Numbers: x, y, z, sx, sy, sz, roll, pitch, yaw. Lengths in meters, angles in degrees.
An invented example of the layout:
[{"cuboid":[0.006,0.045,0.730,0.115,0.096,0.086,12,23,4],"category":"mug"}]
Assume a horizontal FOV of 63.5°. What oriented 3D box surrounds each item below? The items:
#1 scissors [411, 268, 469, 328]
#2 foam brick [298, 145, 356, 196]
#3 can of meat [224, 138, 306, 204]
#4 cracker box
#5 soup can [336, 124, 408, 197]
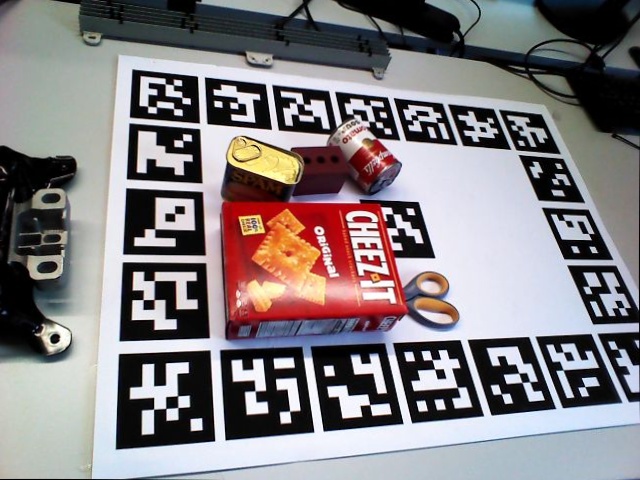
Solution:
[{"cuboid":[0.100,0.083,0.688,0.202,0.016,0.087,-3,62,-19],"category":"scissors"},{"cuboid":[0.005,-0.102,0.760,0.078,0.052,0.052,-9,64,-22],"category":"foam brick"},{"cuboid":[-0.077,-0.085,0.702,0.102,0.084,0.057,14,58,-10],"category":"can of meat"},{"cuboid":[-0.007,0.035,0.645,0.213,0.072,0.163,-5,62,-16],"category":"cracker box"},{"cuboid":[0.080,-0.124,0.796,0.102,0.068,0.067,43,58,16],"category":"soup can"}]
